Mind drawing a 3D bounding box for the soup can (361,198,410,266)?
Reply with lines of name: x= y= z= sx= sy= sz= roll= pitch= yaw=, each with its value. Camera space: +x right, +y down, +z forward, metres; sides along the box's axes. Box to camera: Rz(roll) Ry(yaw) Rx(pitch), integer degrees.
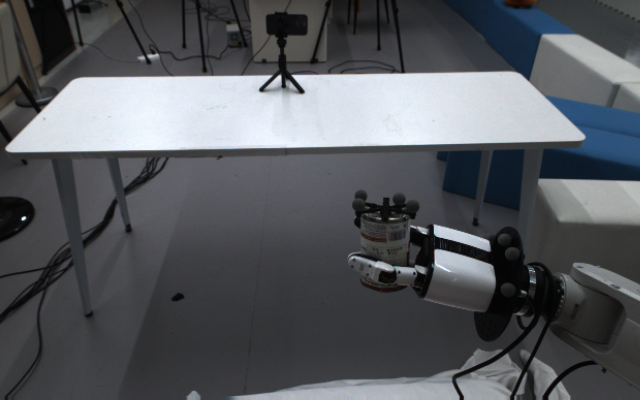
soup can: x=0.090 y=0.065 z=0.656 sx=0.067 sy=0.101 sz=0.067 roll=-1 pitch=17 yaw=0
